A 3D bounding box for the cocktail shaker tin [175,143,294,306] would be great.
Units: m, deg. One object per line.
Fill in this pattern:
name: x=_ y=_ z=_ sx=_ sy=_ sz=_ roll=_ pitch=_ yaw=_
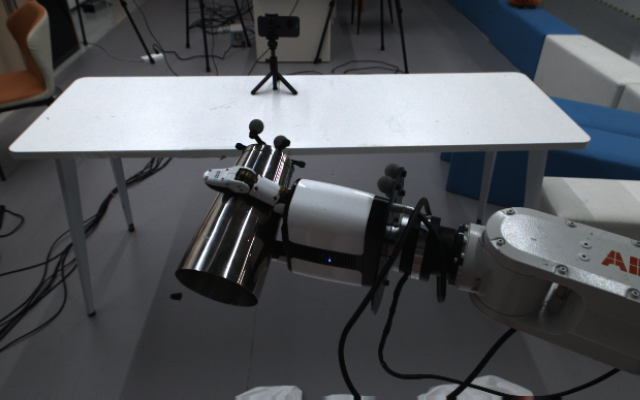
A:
cocktail shaker tin: x=-0.085 y=0.023 z=0.543 sx=0.093 sy=0.093 sz=0.170 roll=11 pitch=60 yaw=12
